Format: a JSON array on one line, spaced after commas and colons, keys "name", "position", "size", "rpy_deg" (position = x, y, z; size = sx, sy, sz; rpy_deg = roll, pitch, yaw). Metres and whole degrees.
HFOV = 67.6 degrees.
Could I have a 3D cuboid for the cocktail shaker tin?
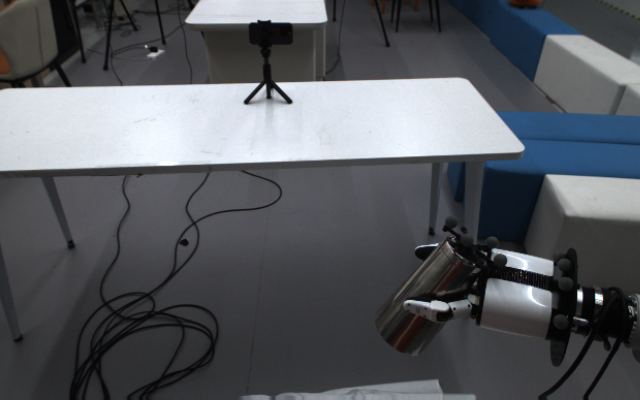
[{"name": "cocktail shaker tin", "position": [0.162, 0.129, 0.703], "size": [0.093, 0.170, 0.093], "rpy_deg": [25, 29, -15]}]
